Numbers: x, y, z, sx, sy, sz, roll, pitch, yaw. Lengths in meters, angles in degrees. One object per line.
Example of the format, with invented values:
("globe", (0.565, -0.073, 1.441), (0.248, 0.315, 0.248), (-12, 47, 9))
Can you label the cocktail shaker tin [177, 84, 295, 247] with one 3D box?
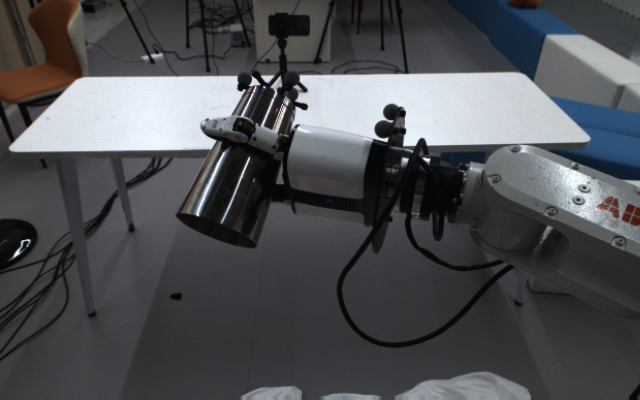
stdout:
("cocktail shaker tin", (-0.085, -0.041, 0.549), (0.093, 0.093, 0.170), (13, 70, 15))
